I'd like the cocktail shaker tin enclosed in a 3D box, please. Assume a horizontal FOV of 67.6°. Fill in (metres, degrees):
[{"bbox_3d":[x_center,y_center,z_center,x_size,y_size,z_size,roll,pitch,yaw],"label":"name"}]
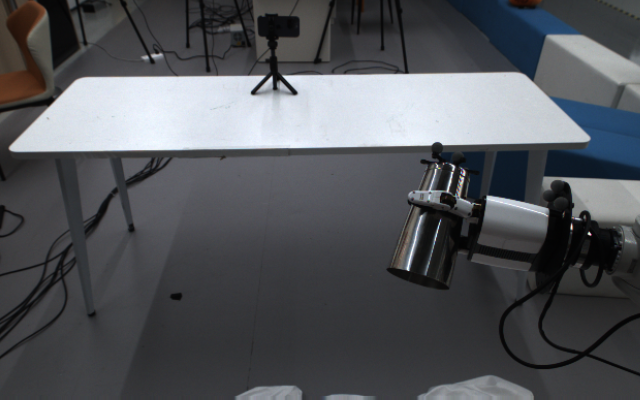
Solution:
[{"bbox_3d":[0.166,0.034,0.705,0.093,0.093,0.170,15,75,18],"label":"cocktail shaker tin"}]
